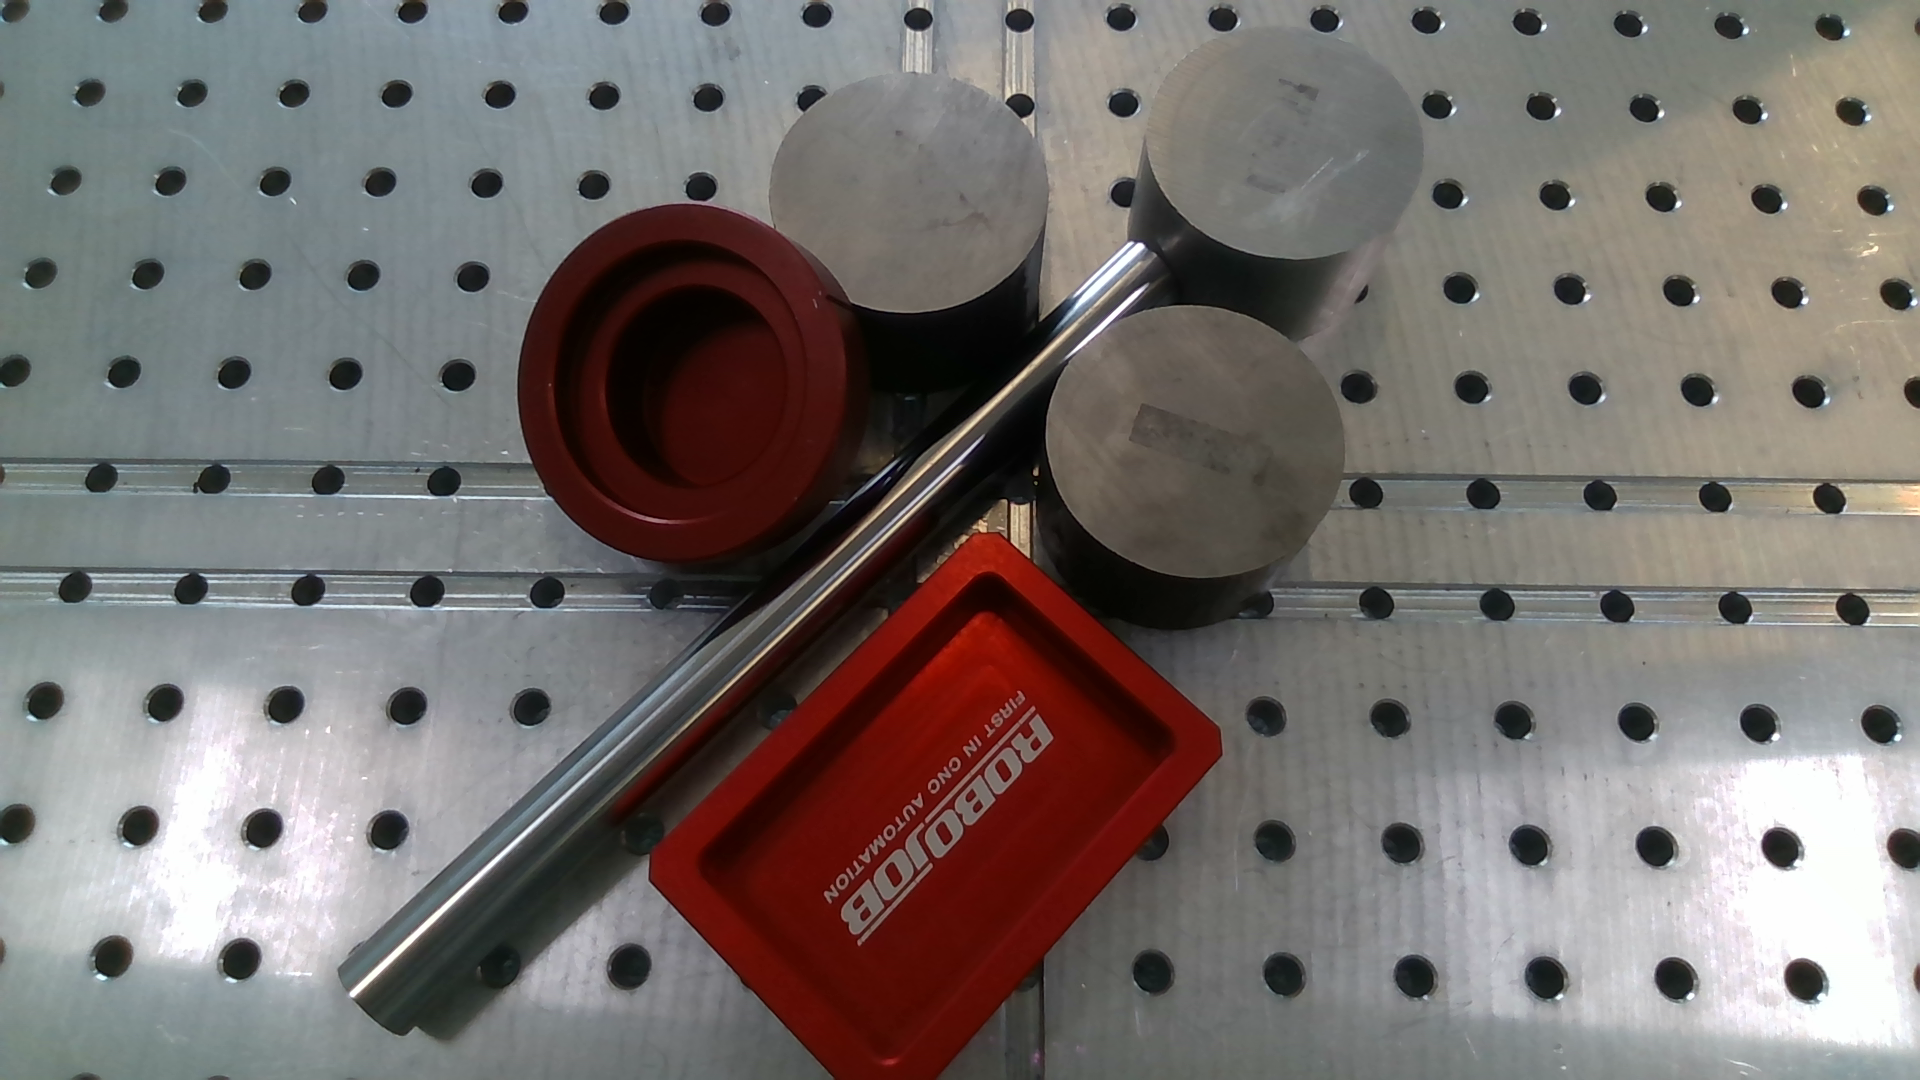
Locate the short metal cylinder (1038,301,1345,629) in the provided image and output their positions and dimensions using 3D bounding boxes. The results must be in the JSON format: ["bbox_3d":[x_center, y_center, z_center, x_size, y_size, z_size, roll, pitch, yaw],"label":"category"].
[{"bbox_3d":[0.063,-0.020,0.391,0.080,0.050,0.080,0,70,0],"label":"short metal cylinder"}]

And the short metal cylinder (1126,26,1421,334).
[{"bbox_3d":[0.094,-0.108,0.423,0.080,0.050,0.080,0,70,0],"label":"short metal cylinder"}]

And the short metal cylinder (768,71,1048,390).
[{"bbox_3d":[-0.015,-0.093,0.417,0.080,0.050,0.080,0,70,0],"label":"short metal cylinder"}]

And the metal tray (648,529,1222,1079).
[{"bbox_3d":[-0.005,0.072,0.369,0.090,0.030,0.130,42,76,14],"label":"metal tray"}]

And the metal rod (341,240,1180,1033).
[{"bbox_3d":[-0.046,0.018,0.392,0.025,0.025,0.300,43,76,14],"label":"metal rod"}]

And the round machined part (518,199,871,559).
[{"bbox_3d":[-0.072,-0.043,0.393,0.098,0.042,0.098,0,89,15],"label":"round machined part"}]
